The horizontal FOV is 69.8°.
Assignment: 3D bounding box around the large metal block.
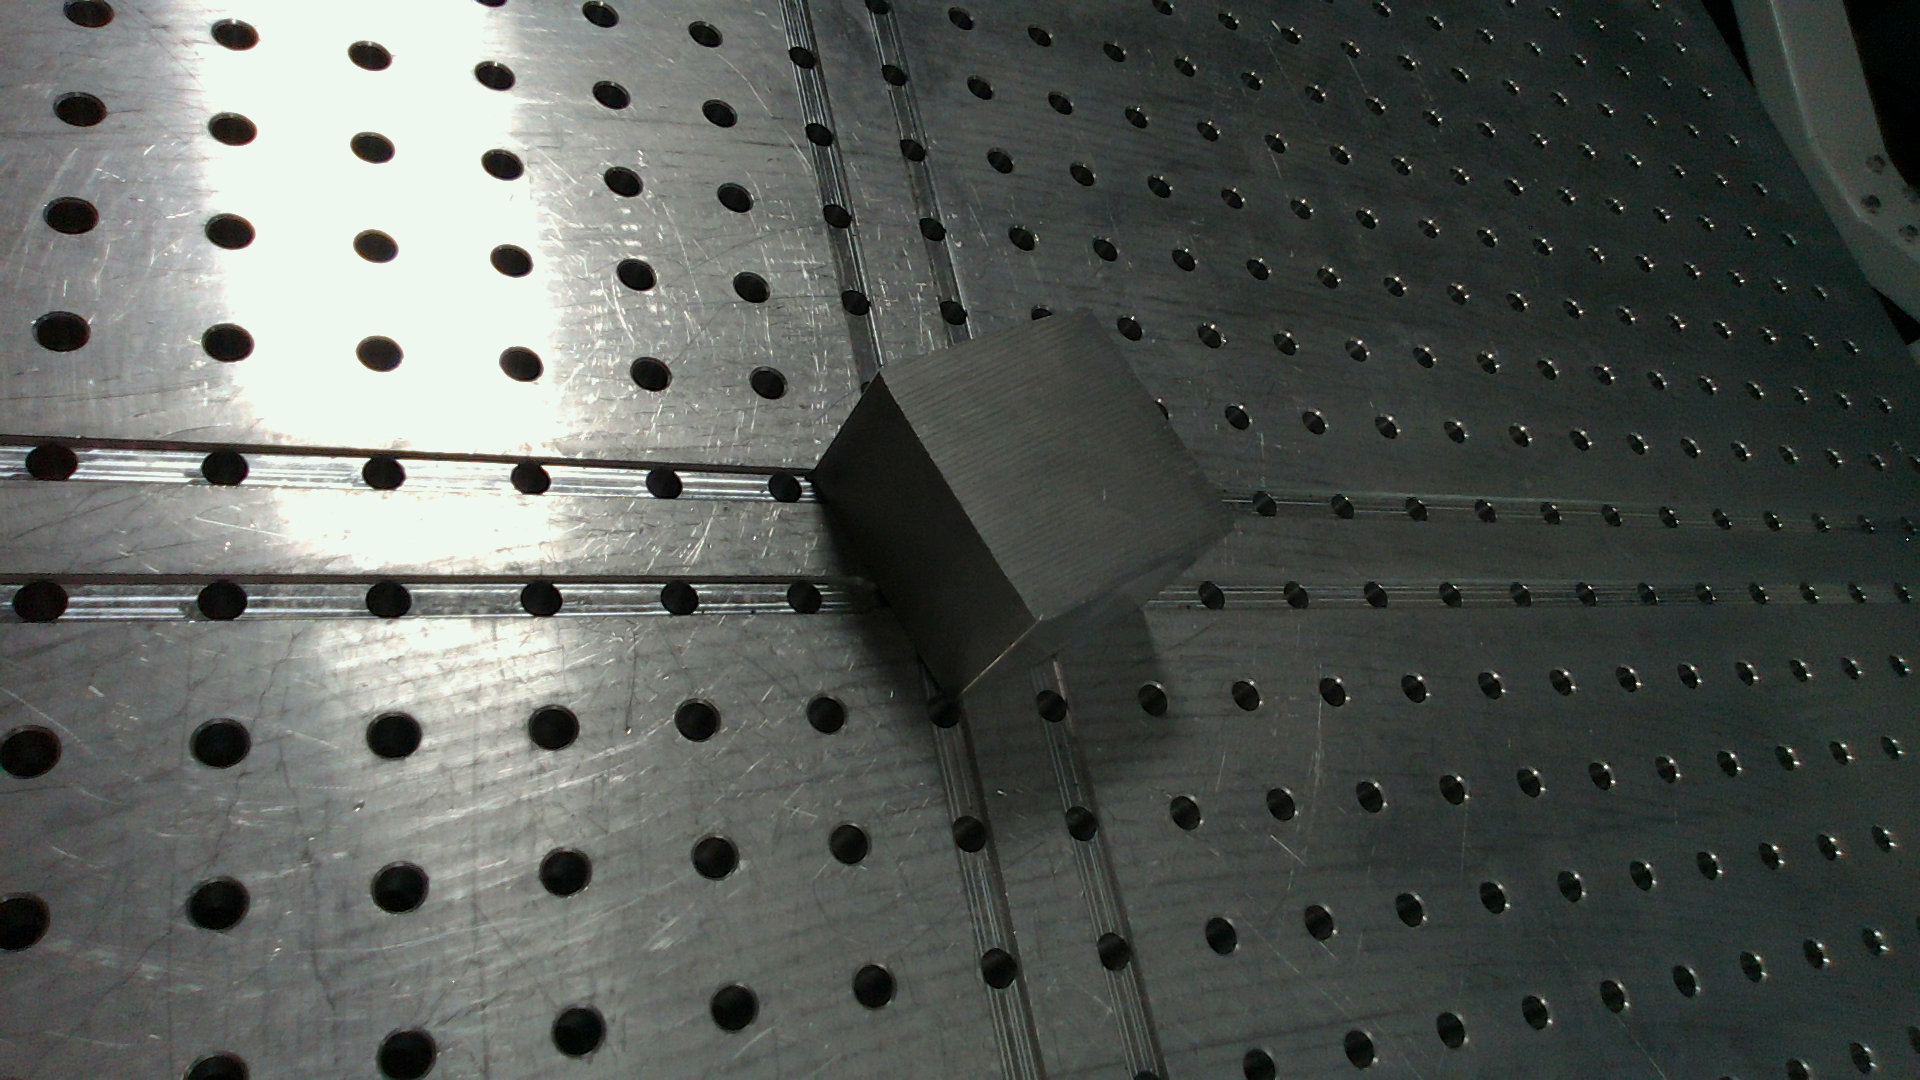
[{"bbox_3d":[0.019,-0.012,0.391,0.080,0.050,0.080,-23,74,-36],"label":"large metal block"}]
